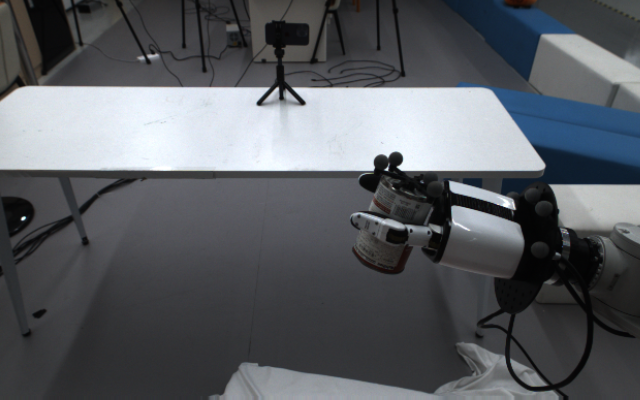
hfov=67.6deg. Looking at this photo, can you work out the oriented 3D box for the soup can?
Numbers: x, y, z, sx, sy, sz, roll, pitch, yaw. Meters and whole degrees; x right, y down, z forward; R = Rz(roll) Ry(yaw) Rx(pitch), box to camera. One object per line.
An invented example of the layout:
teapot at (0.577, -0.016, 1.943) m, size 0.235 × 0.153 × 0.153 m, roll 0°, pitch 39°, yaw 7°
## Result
soup can at (0.088, 0.027, 0.576) m, size 0.067 × 0.101 × 0.067 m, roll 16°, pitch 22°, yaw -7°
